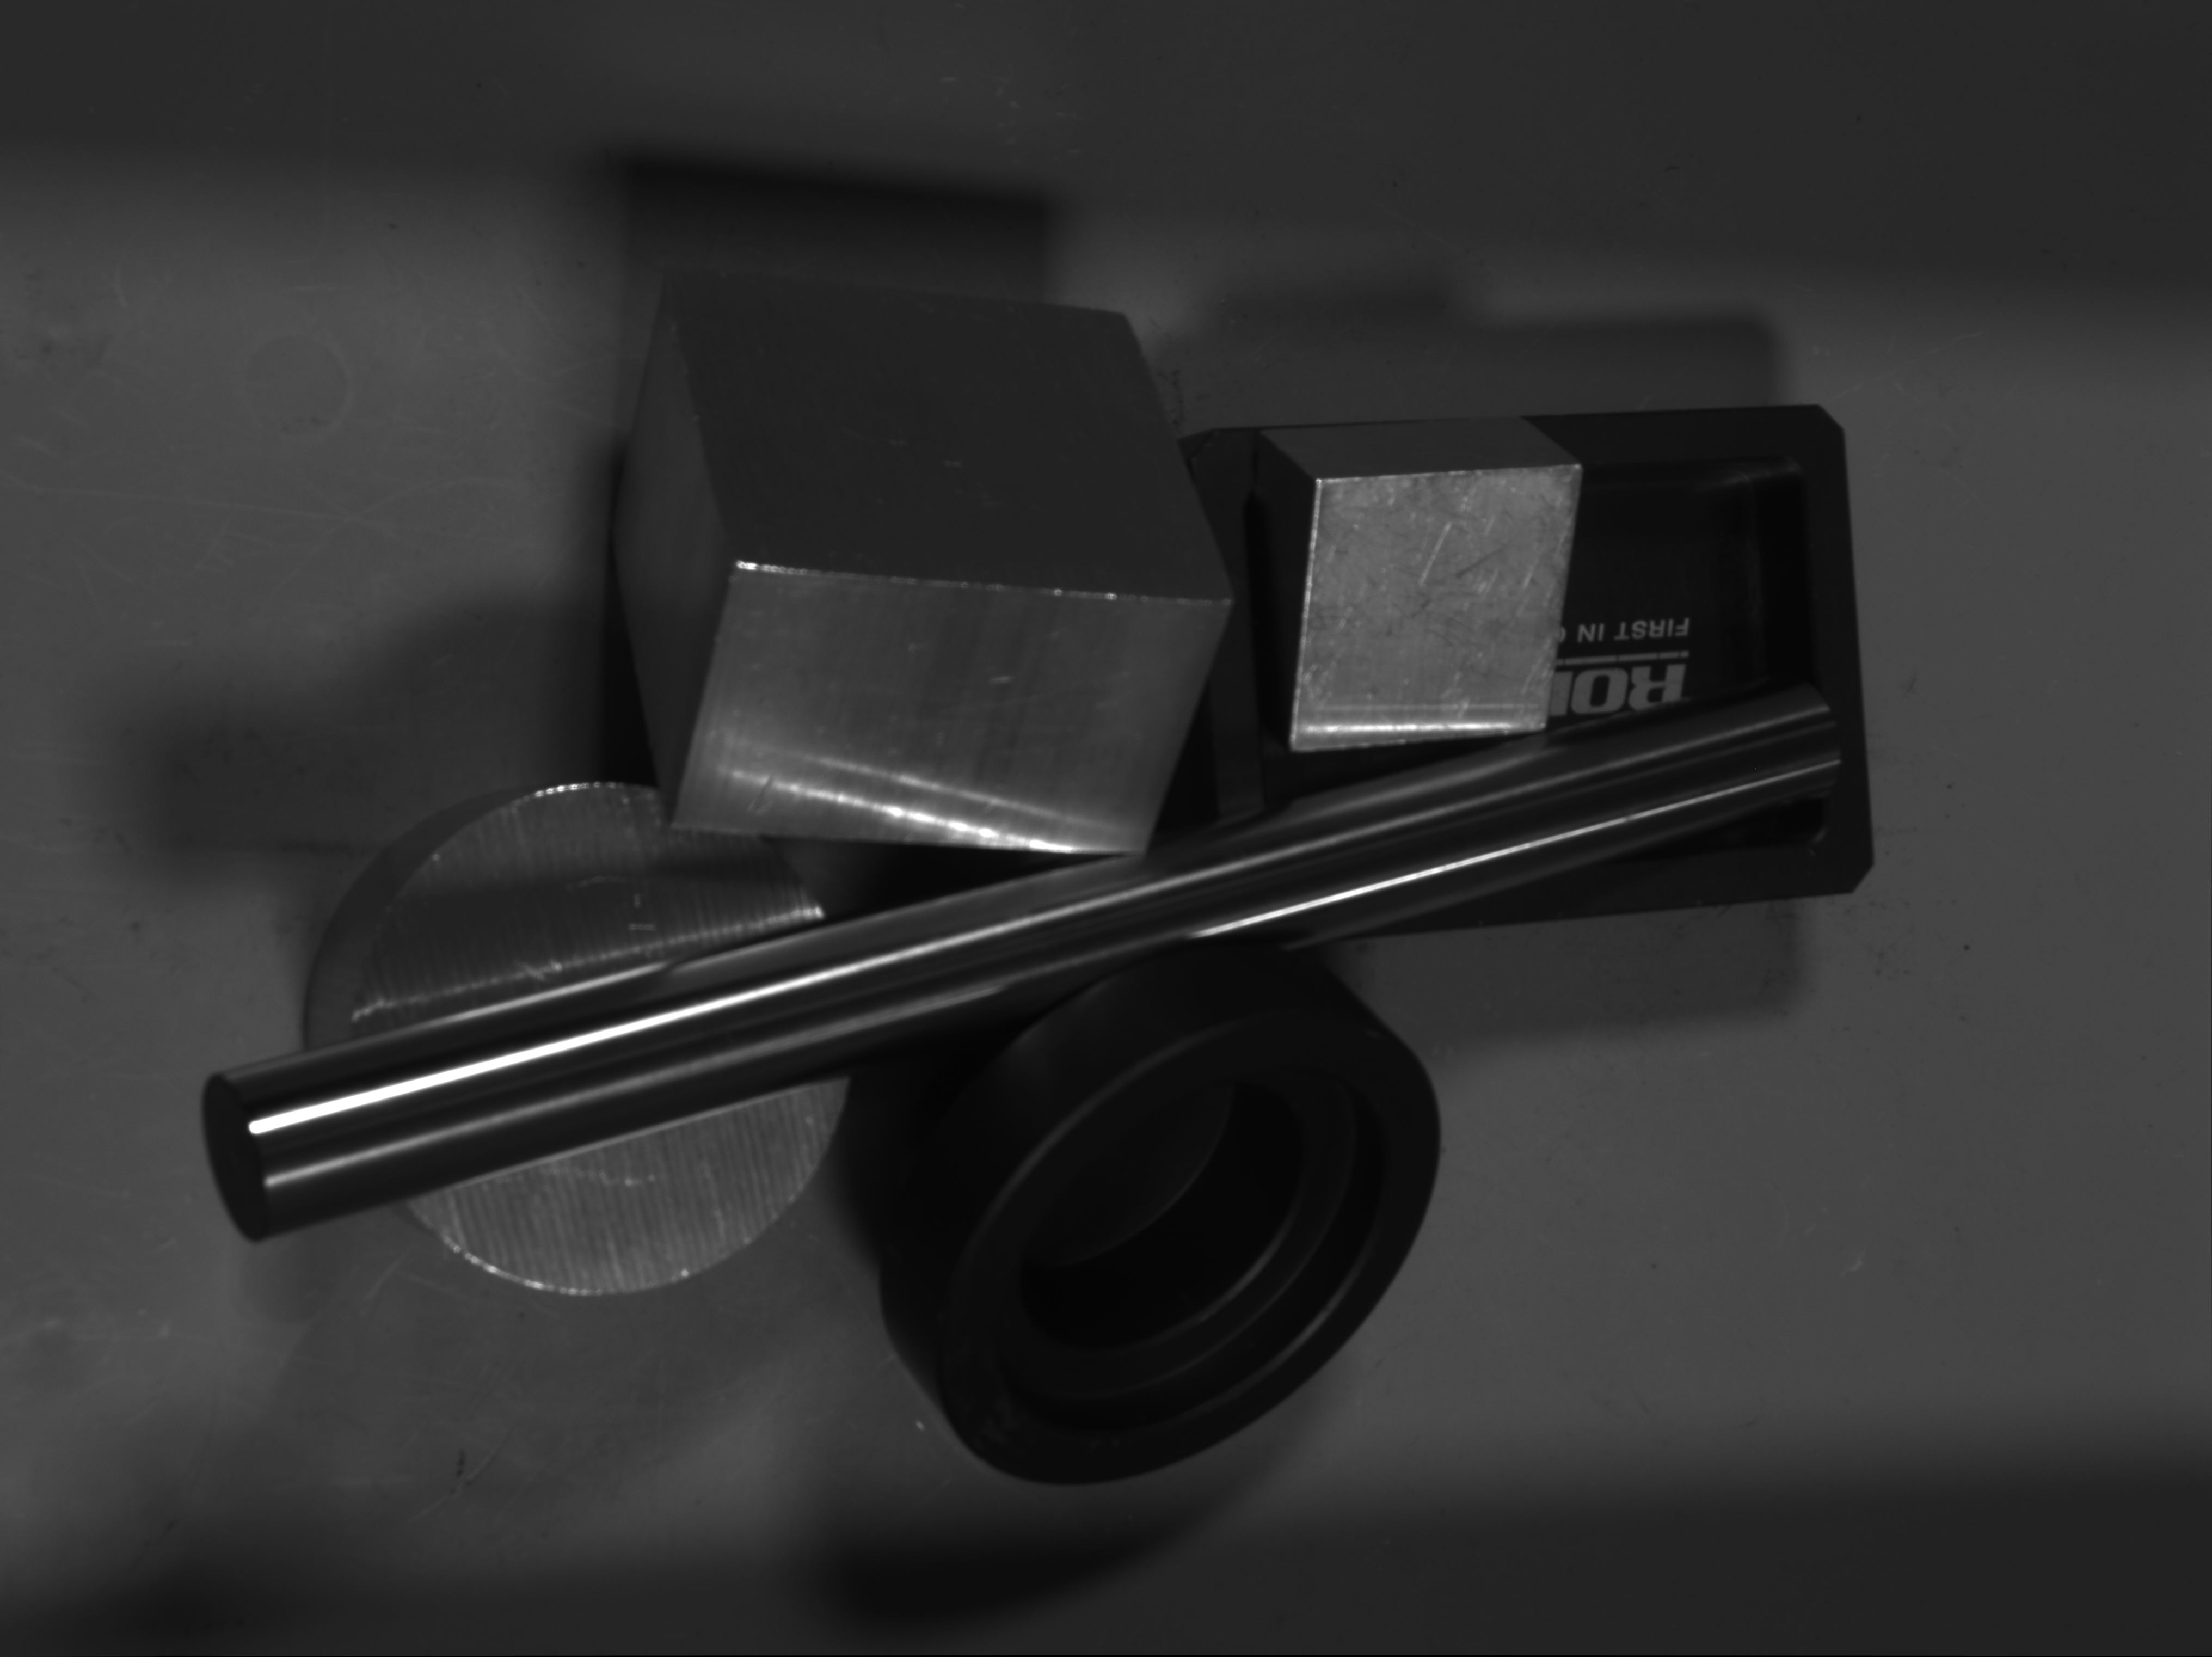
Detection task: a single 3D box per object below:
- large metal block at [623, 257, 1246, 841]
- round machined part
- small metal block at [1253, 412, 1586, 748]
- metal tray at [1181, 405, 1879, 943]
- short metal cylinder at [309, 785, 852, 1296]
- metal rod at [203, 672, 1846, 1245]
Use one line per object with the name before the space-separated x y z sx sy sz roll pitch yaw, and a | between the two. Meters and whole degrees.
large metal block | -0.031 -0.045 0.594 0.080 0.080 0.050 3 131 -19
round machined part | 0.005 0.060 0.618 0.098 0.042 0.098 -20 132 -23
small metal block | 0.052 -0.044 0.638 0.050 0.025 0.050 -5 118 -19
metal tray | 0.074 -0.028 0.666 0.130 0.030 0.090 -5 92 -20
short metal cylinder | -0.086 0.033 0.597 0.080 0.050 0.080 0 90 -20
metal rod | 0.002 0.015 0.599 0.301 0.025 0.025 -14 95 -30
